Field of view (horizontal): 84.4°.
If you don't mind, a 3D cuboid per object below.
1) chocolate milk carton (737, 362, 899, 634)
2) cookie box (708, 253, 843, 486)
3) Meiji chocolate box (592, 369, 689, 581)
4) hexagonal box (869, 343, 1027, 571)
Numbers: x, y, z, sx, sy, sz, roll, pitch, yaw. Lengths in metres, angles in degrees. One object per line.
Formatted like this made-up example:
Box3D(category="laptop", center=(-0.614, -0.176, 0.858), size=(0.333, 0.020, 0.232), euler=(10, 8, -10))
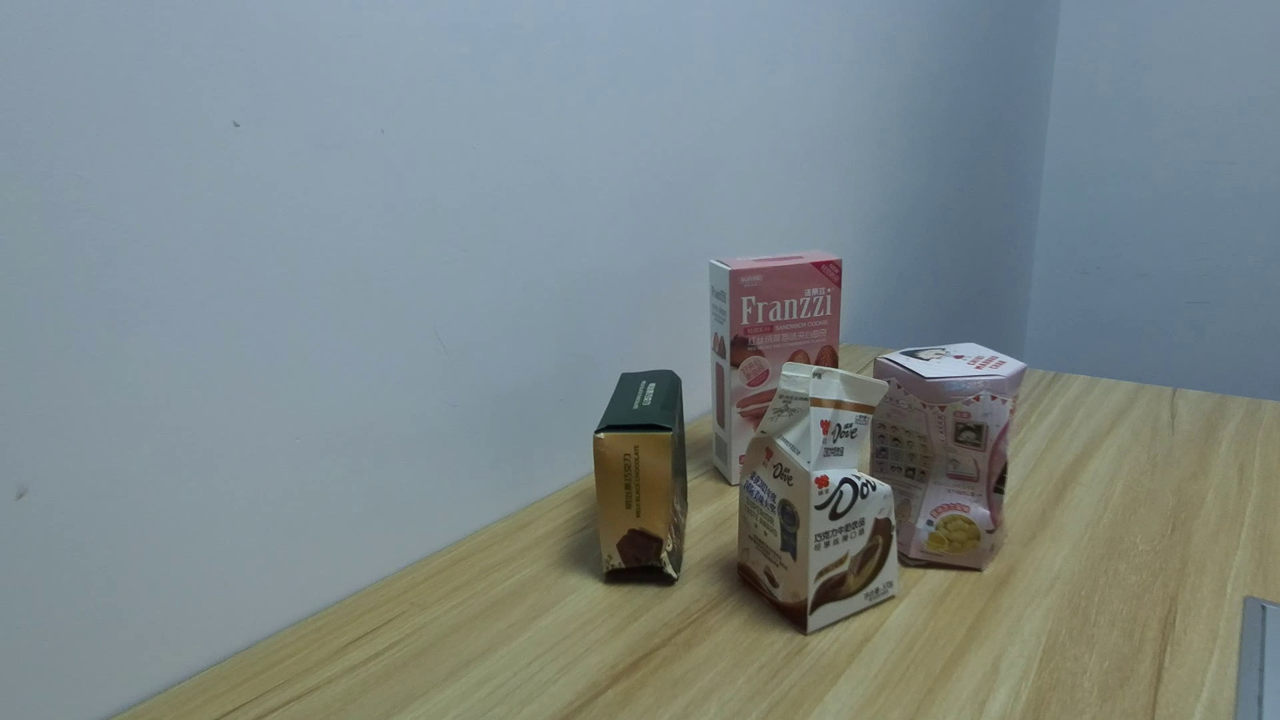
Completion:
Box3D(category="chocolate milk carton", center=(0.108, 0.070, 0.422), size=(0.076, 0.155, 0.073), euler=(-11, 21, -25))
Box3D(category="cookie box", center=(0.113, 0.008, 0.585), size=(0.096, 0.184, 0.048), euler=(-8, 18, -12))
Box3D(category="Meiji chocolate box", center=(0.003, 0.077, 0.496), size=(0.058, 0.116, 0.122), euler=(1, 16, 7))
Box3D(category="hexagonal box", center=(0.202, 0.063, 0.471), size=(0.093, 0.134, 0.089), euler=(-1, 17, 5))
